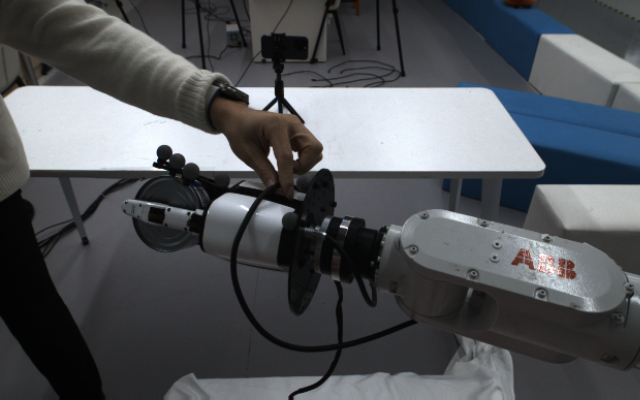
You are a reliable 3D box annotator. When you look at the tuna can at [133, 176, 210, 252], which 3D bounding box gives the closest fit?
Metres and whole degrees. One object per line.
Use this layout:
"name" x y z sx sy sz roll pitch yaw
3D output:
"tuna can" -0.164 0.015 0.549 0.085 0.085 0.034 13 3 15
